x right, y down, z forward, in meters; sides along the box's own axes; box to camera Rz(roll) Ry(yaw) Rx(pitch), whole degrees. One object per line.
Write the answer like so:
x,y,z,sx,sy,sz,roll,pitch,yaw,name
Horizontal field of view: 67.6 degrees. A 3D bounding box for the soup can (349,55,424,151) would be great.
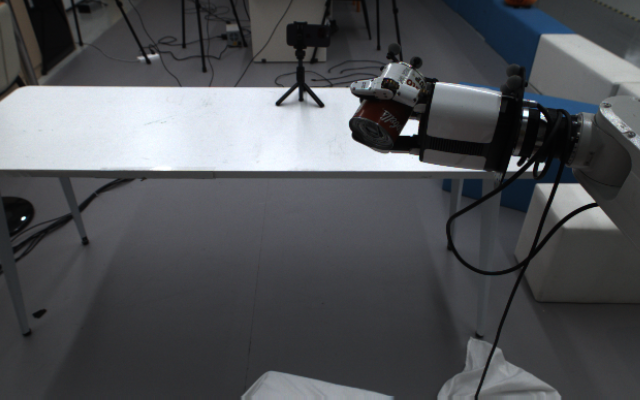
0.094,-0.129,0.655,0.067,0.067,0.101,23,73,28,soup can
